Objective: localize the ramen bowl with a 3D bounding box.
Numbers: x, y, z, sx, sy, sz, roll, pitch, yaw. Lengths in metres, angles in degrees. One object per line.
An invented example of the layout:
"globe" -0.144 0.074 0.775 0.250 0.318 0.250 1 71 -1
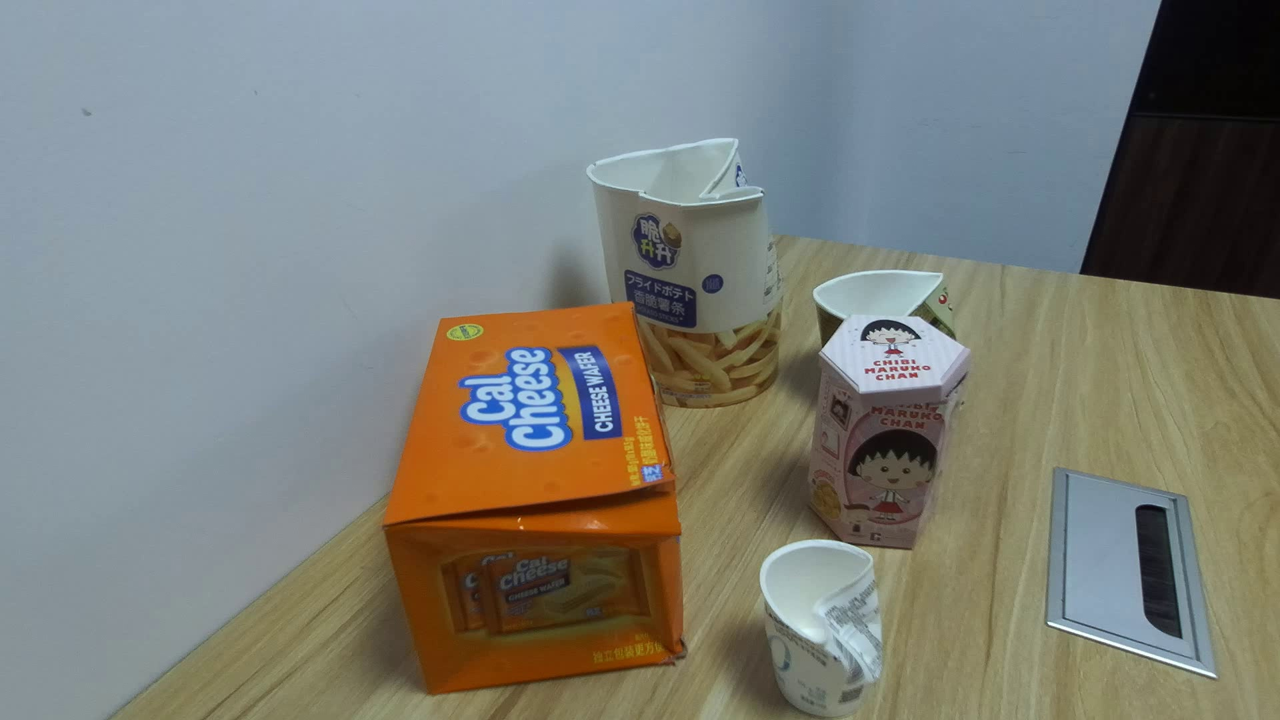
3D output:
"ramen bowl" 0.218 -0.013 0.608 0.137 0.098 0.137 -2 30 1

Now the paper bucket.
"paper bucket" 0.058 -0.072 0.622 0.169 0.202 0.162 -19 35 -21

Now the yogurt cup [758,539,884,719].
"yogurt cup" 0.095 0.143 0.373 0.067 0.070 0.067 -3 33 3

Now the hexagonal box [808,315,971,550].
"hexagonal box" 0.161 0.047 0.469 0.092 0.135 0.085 3 31 10

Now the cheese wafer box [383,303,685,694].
"cheese wafer box" -0.059 0.070 0.453 0.150 0.137 0.226 -5 30 -4
